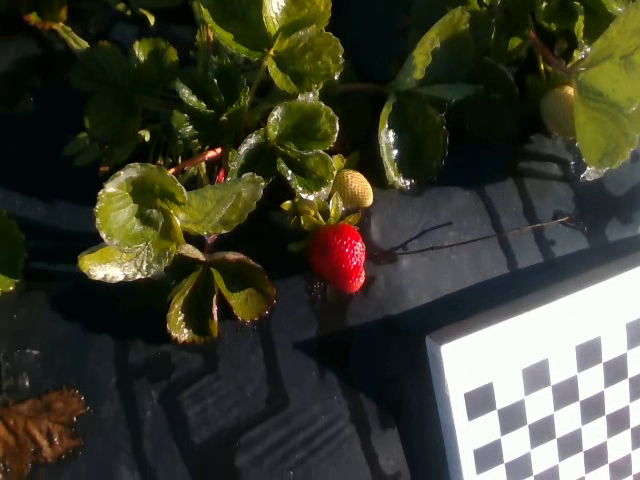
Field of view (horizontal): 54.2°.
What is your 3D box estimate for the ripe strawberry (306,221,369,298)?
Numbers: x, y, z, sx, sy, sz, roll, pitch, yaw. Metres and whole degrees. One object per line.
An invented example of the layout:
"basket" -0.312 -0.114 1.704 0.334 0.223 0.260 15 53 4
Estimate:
"ripe strawberry" 0.013 0.012 0.315 0.039 0.039 0.040 -24 -42 -3
